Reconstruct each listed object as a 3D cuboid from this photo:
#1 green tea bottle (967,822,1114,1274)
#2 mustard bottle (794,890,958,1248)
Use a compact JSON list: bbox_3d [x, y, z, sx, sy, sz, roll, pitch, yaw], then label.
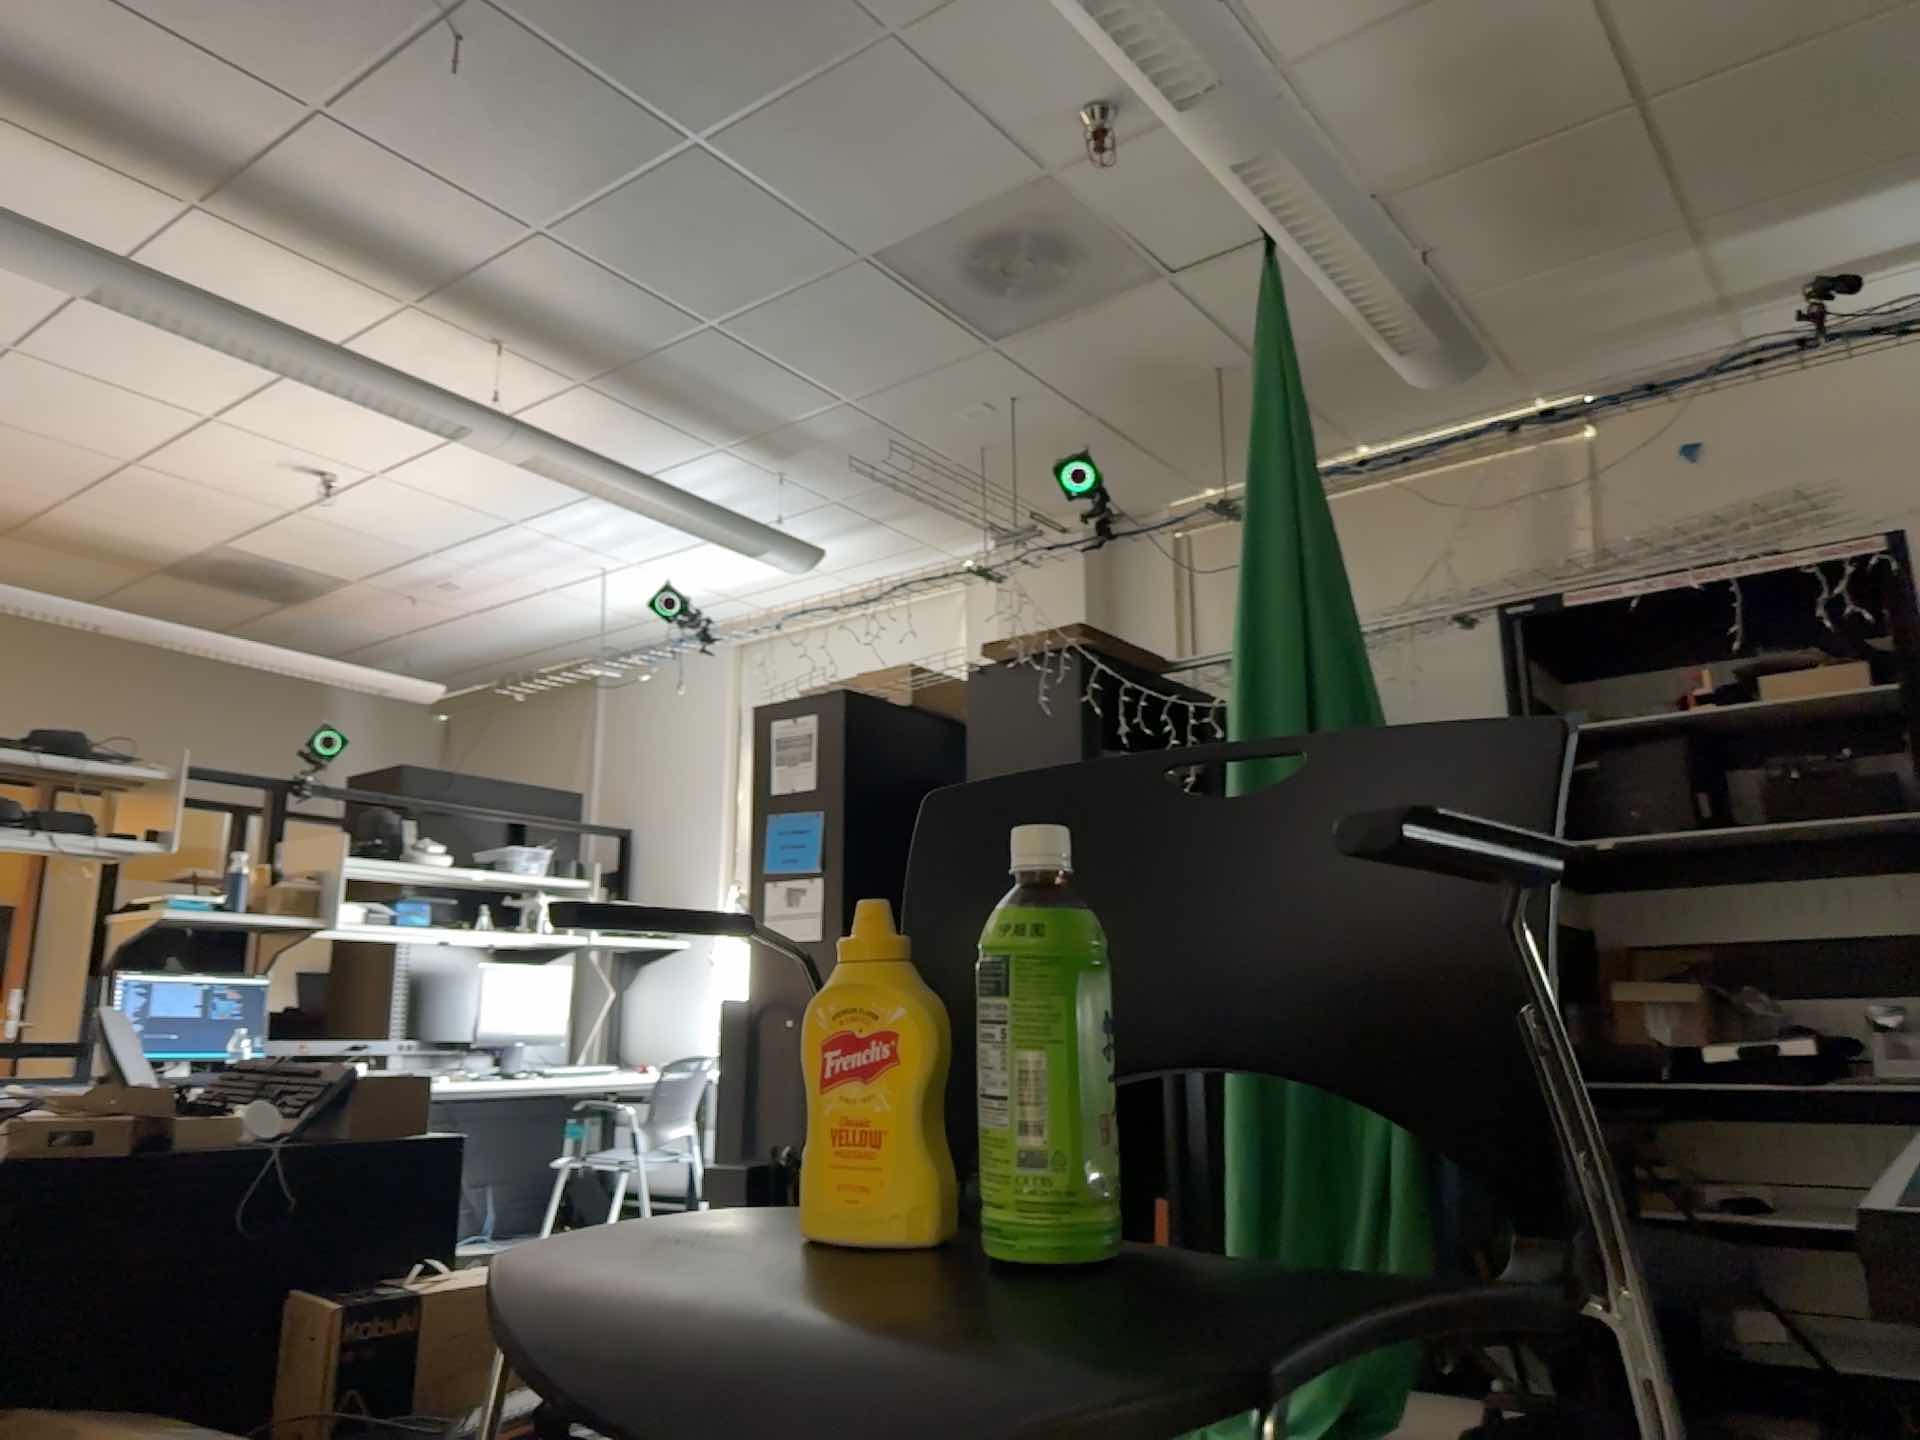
[{"bbox_3d":[0.039,0.157,0.669,0.073,0.212,0.073,0,-9,0],"label":"green tea bottle"},{"bbox_3d":[-0.047,0.185,0.733,0.092,0.184,0.054,-7,-13,32],"label":"mustard bottle"}]
